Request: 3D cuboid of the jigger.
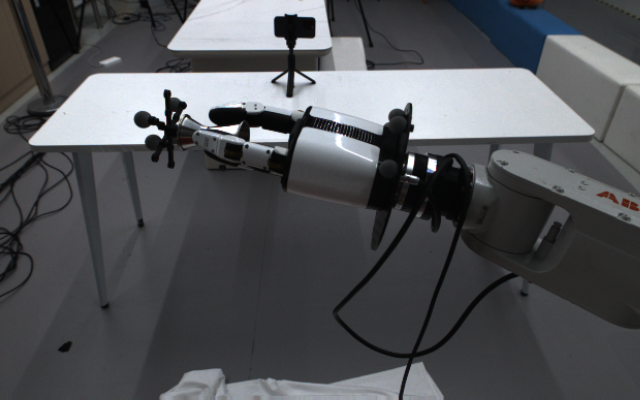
[{"bbox_3d":[-0.110,-0.075,0.531,0.071,0.043,0.043,7,35,6],"label":"jigger"}]
